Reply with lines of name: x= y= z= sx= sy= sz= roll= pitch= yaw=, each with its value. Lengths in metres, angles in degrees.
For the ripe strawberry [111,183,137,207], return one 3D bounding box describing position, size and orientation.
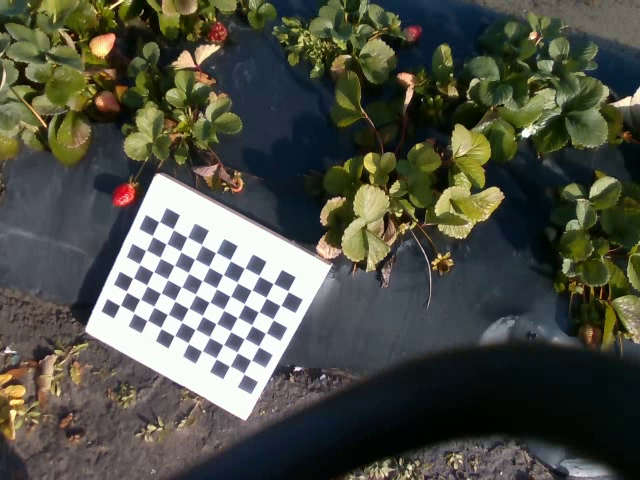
ripe strawberry: x=-0.256 y=-0.058 z=1.102 sx=0.034 sy=0.033 sz=0.038 roll=27 pitch=49 yaw=10
